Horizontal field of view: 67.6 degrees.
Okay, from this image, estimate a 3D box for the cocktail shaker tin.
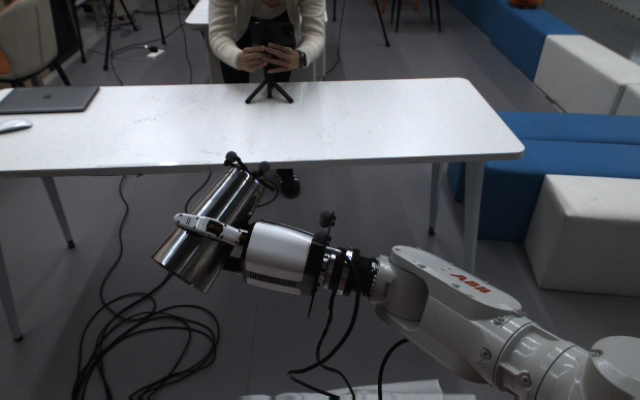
[{"bbox_3d":[-0.153,0.033,0.692,0.093,0.093,0.170,22,67,26],"label":"cocktail shaker tin"}]
